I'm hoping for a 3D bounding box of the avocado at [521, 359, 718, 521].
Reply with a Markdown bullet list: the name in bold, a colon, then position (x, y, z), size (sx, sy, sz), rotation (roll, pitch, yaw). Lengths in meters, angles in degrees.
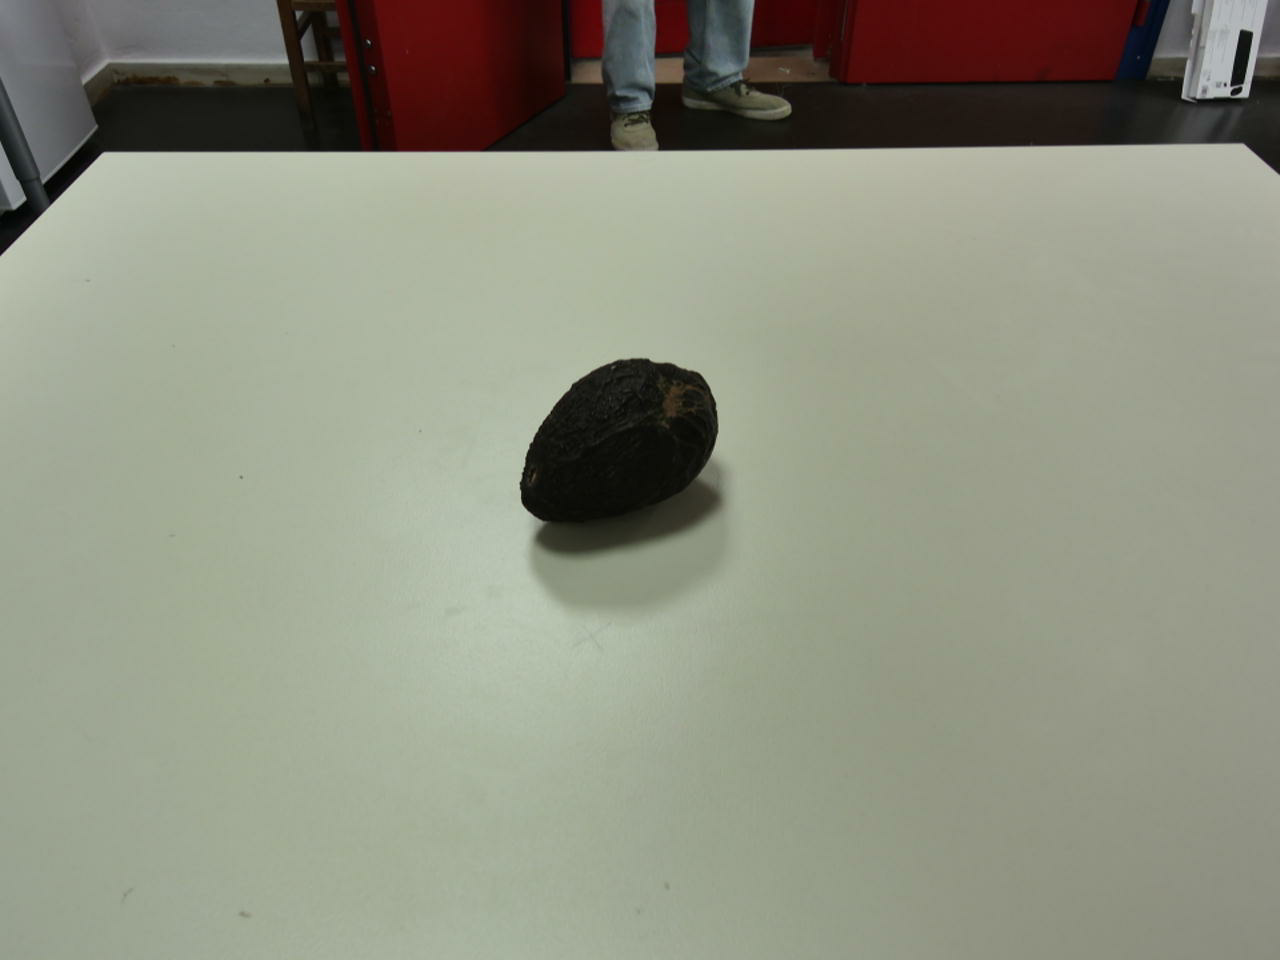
- **avocado**: position (-0.010, -0.018, 0.422), size (0.092, 0.062, 0.062), rotation (-15, 41, -18)
